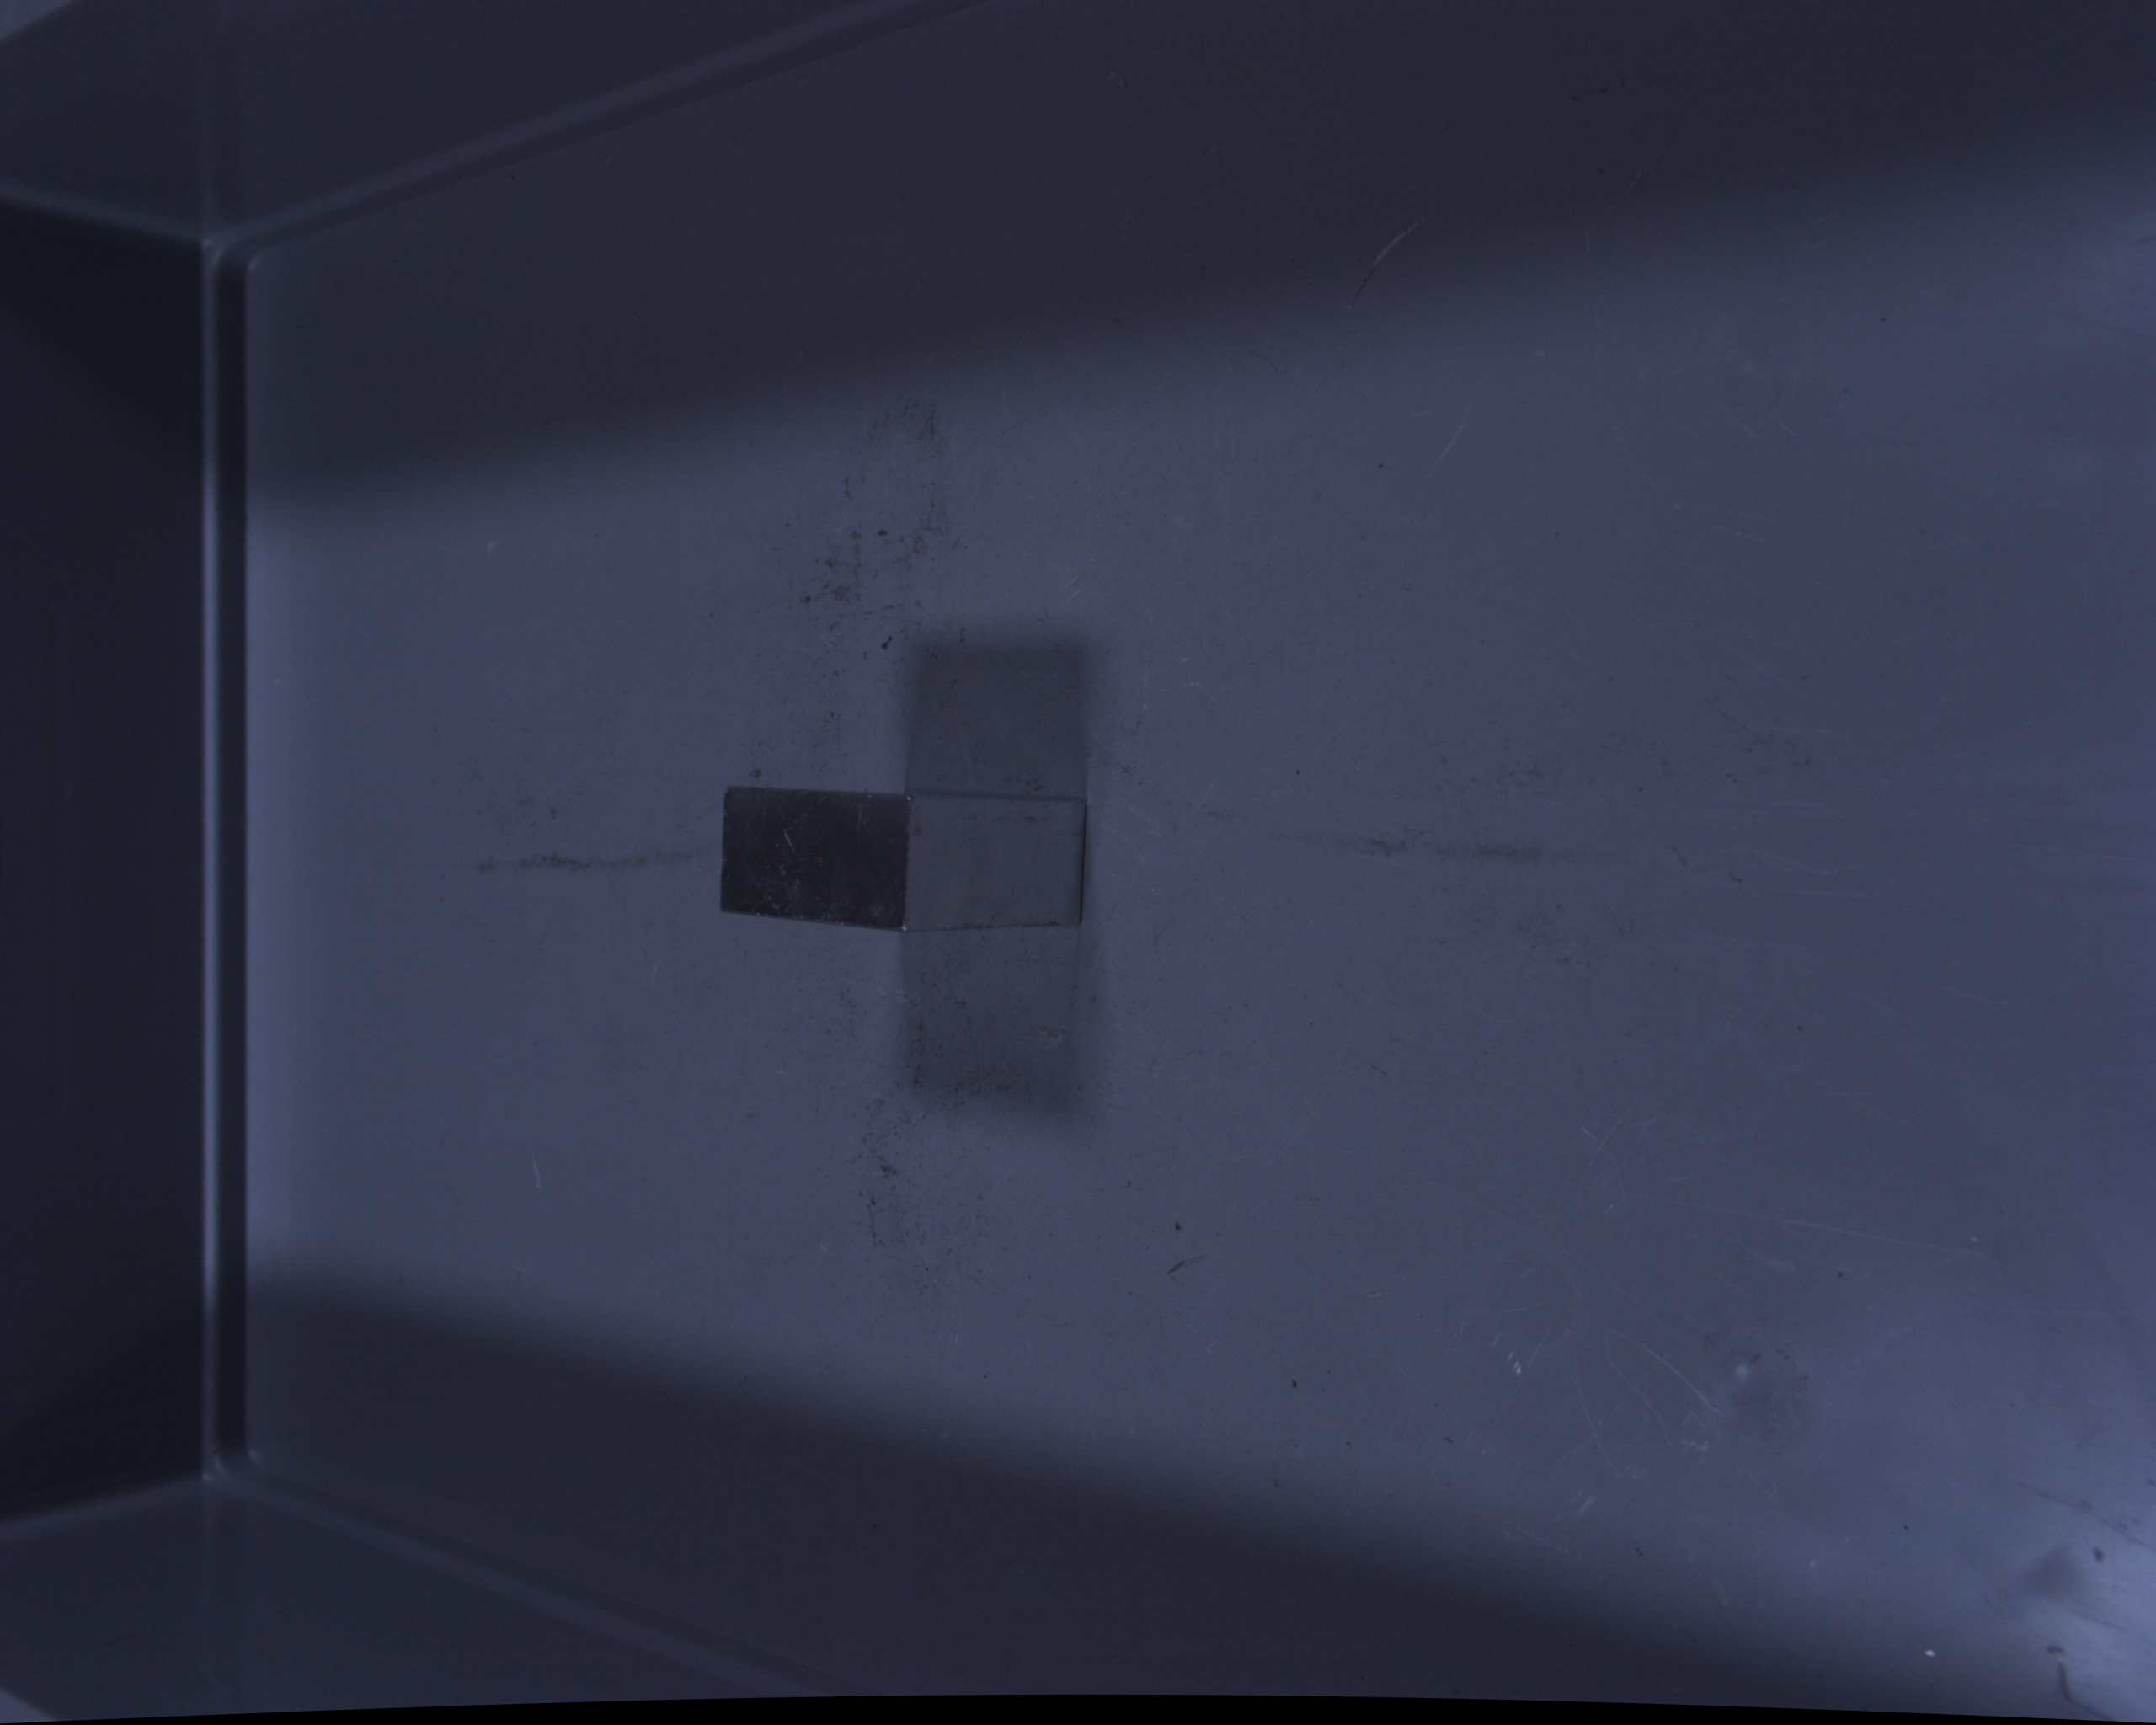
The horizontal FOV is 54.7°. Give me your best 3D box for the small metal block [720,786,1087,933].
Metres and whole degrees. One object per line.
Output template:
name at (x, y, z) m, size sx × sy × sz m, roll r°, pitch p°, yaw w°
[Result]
small metal block at (-0.034, -0.001, 0.412) m, size 0.050 × 0.050 × 0.025 m, roll 4°, pitch 93°, yaw 39°
